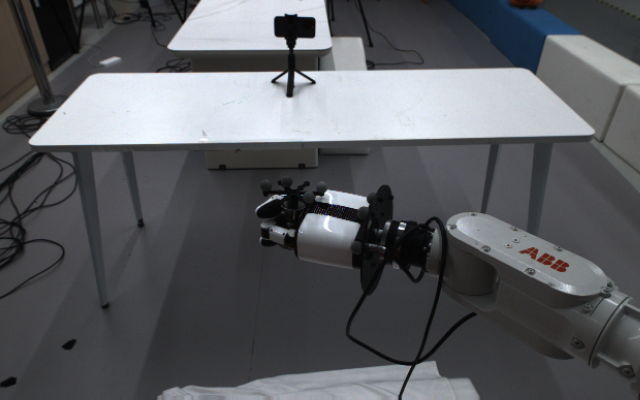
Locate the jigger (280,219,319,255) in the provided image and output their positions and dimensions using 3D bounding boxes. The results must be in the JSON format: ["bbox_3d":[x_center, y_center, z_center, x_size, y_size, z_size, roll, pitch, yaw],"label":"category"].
[{"bbox_3d":[-0.037,0.034,0.730,0.043,0.071,0.043,3,25,-1],"label":"jigger"}]
